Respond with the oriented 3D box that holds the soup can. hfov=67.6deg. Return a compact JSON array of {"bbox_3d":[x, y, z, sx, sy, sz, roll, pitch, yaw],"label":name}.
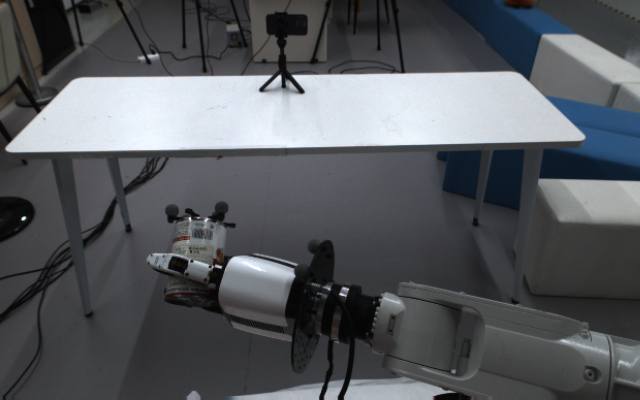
[{"bbox_3d":[-0.155,0.081,0.614,0.067,0.067,0.101,1,69,-1],"label":"soup can"}]
